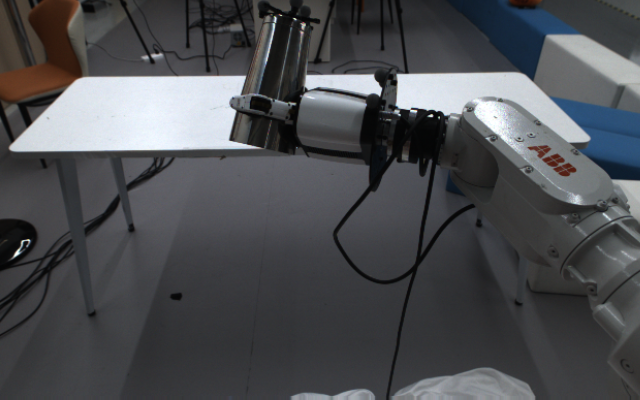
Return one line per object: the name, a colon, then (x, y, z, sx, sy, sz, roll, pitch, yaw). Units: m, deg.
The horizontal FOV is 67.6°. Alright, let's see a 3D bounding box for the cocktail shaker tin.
cocktail shaker tin: (-0.062, -0.154, 0.654, 0.093, 0.170, 0.093, 12, 4, -1)
